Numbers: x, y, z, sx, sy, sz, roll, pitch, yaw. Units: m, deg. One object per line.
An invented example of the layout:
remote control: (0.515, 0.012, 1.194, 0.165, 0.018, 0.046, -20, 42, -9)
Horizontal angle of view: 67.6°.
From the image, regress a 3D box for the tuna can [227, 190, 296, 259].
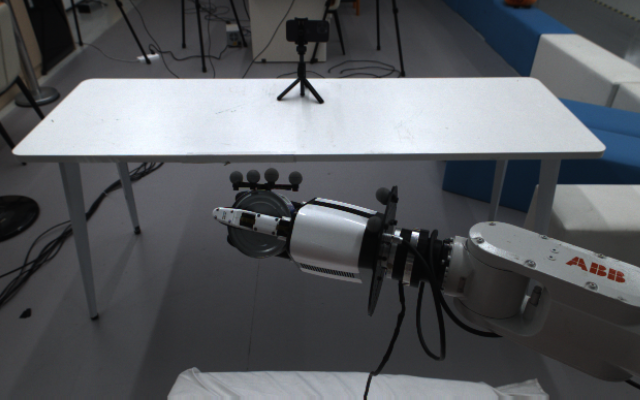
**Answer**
tuna can: (-0.070, 0.031, 0.615, 0.085, 0.085, 0.034, 12, -1, 14)
